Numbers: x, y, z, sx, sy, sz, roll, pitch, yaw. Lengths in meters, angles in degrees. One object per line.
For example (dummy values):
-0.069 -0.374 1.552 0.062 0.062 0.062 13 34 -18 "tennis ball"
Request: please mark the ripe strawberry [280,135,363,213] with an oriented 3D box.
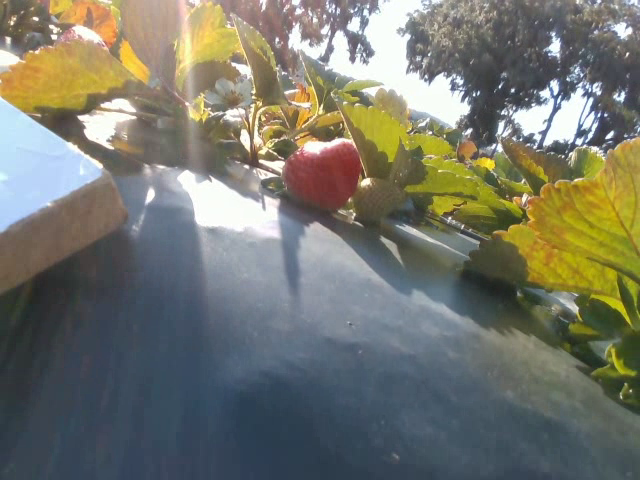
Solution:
0.004 -0.025 0.237 0.042 0.037 0.045 35 -41 -1 "ripe strawberry"
